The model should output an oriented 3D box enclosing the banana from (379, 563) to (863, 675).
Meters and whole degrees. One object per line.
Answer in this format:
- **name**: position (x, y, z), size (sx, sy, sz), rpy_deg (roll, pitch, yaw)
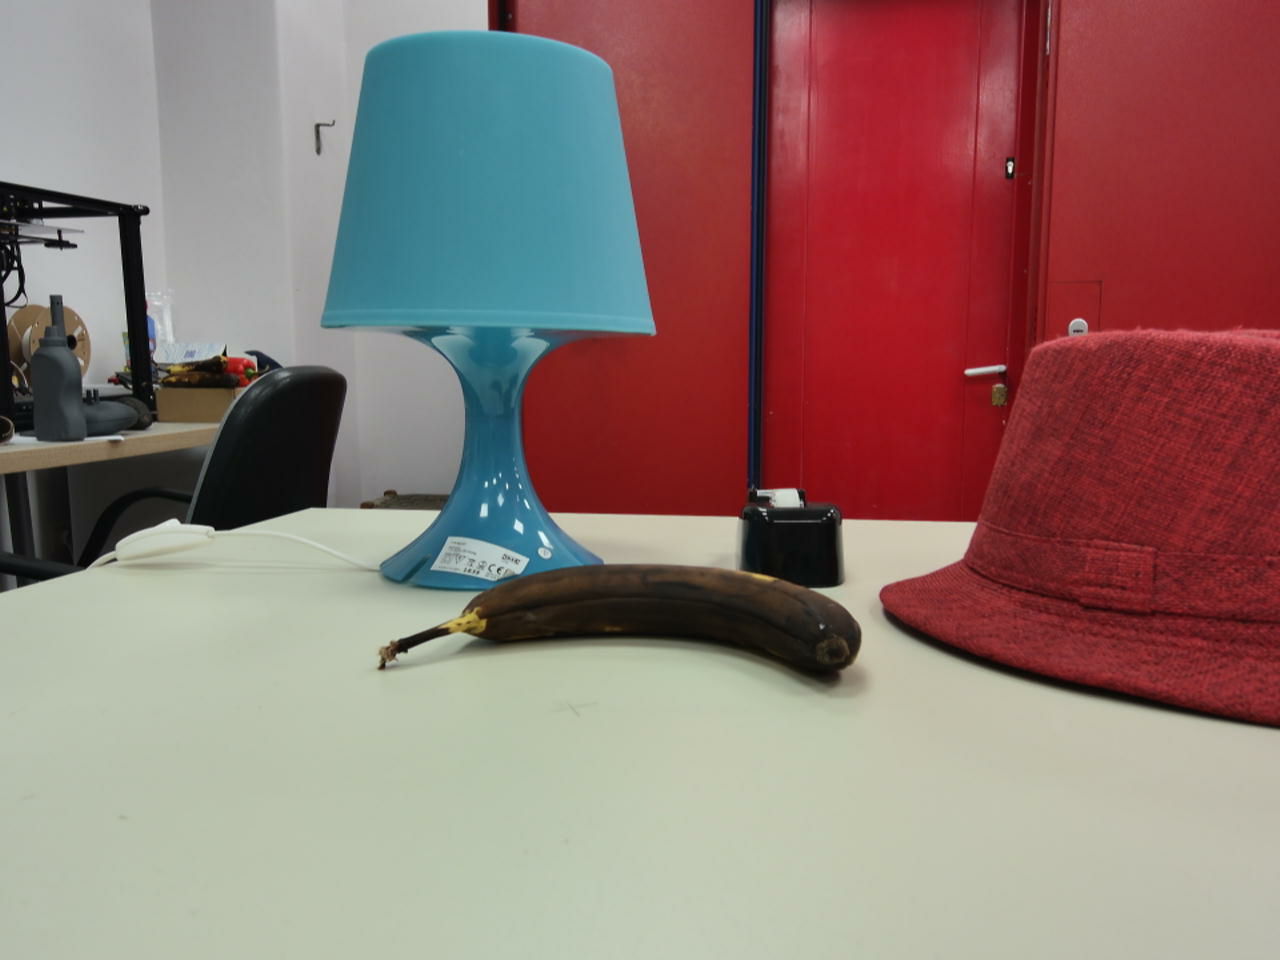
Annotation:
- **banana**: position (-0.003, 0.055, 0.419), size (0.188, 0.033, 0.091), rpy_deg (1, 4, 14)
